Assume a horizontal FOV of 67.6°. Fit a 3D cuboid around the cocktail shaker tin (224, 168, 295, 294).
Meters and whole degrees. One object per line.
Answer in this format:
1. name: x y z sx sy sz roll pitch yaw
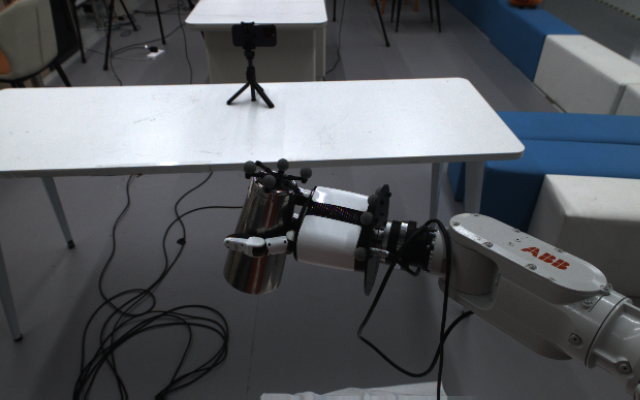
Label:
1. cocktail shaker tin: -0.082 0.044 0.716 0.093 0.170 0.093 12 29 -7
